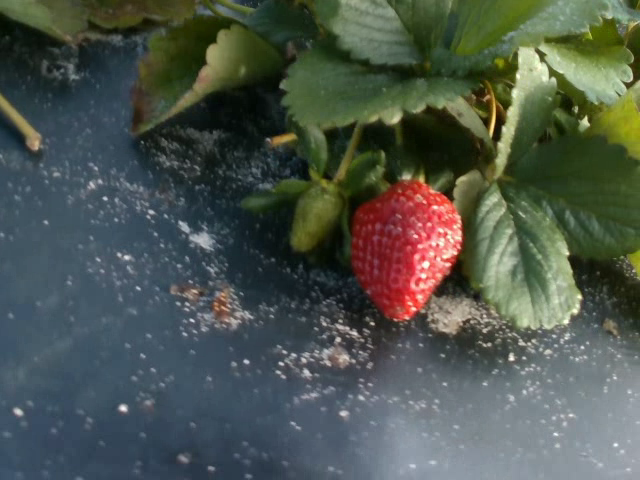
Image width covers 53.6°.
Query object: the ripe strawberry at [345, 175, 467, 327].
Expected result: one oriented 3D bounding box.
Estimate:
[{"bbox_3d":[0.017,0.003,0.127,0.029,0.036,0.021,6,-41,2],"label":"ripe strawberry"}]
